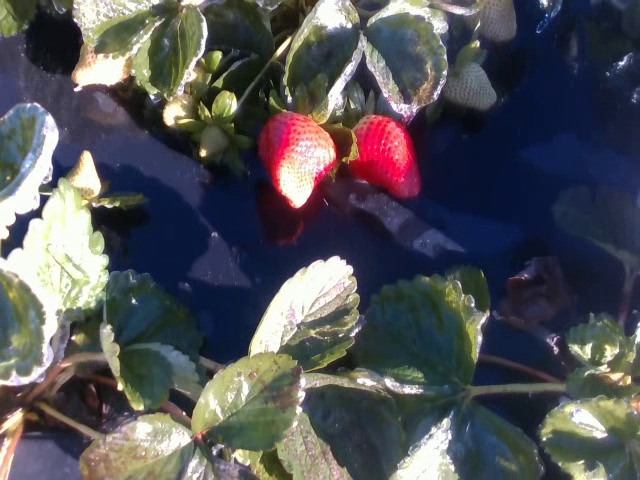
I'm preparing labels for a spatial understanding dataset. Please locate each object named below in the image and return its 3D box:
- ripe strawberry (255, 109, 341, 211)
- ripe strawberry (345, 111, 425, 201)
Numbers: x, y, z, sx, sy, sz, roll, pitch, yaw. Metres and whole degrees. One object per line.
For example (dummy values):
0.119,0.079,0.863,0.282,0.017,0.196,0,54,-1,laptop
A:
-0.011,-0.046,0.366,0.052,0.070,0.040,16,-20,-18,ripe strawberry
0.042,-0.054,0.371,0.043,0.059,0.040,-33,-5,-17,ripe strawberry
